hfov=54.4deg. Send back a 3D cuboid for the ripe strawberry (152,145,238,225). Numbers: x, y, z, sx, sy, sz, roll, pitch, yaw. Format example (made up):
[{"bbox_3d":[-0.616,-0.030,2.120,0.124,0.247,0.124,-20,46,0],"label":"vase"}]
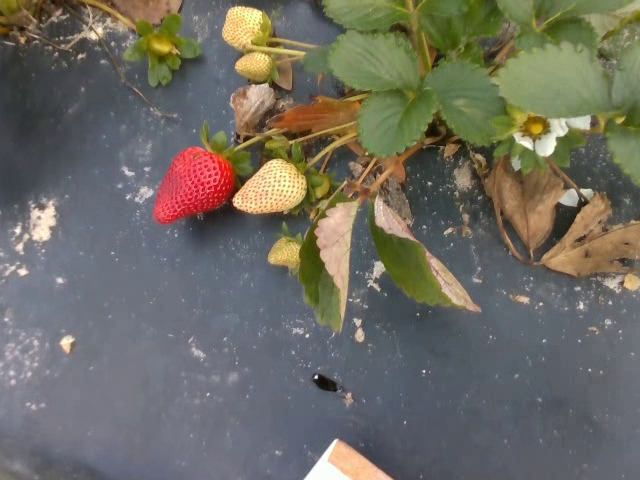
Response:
[{"bbox_3d":[-0.075,-0.031,0.354,0.050,0.059,0.034,26,-28,15],"label":"ripe strawberry"}]
